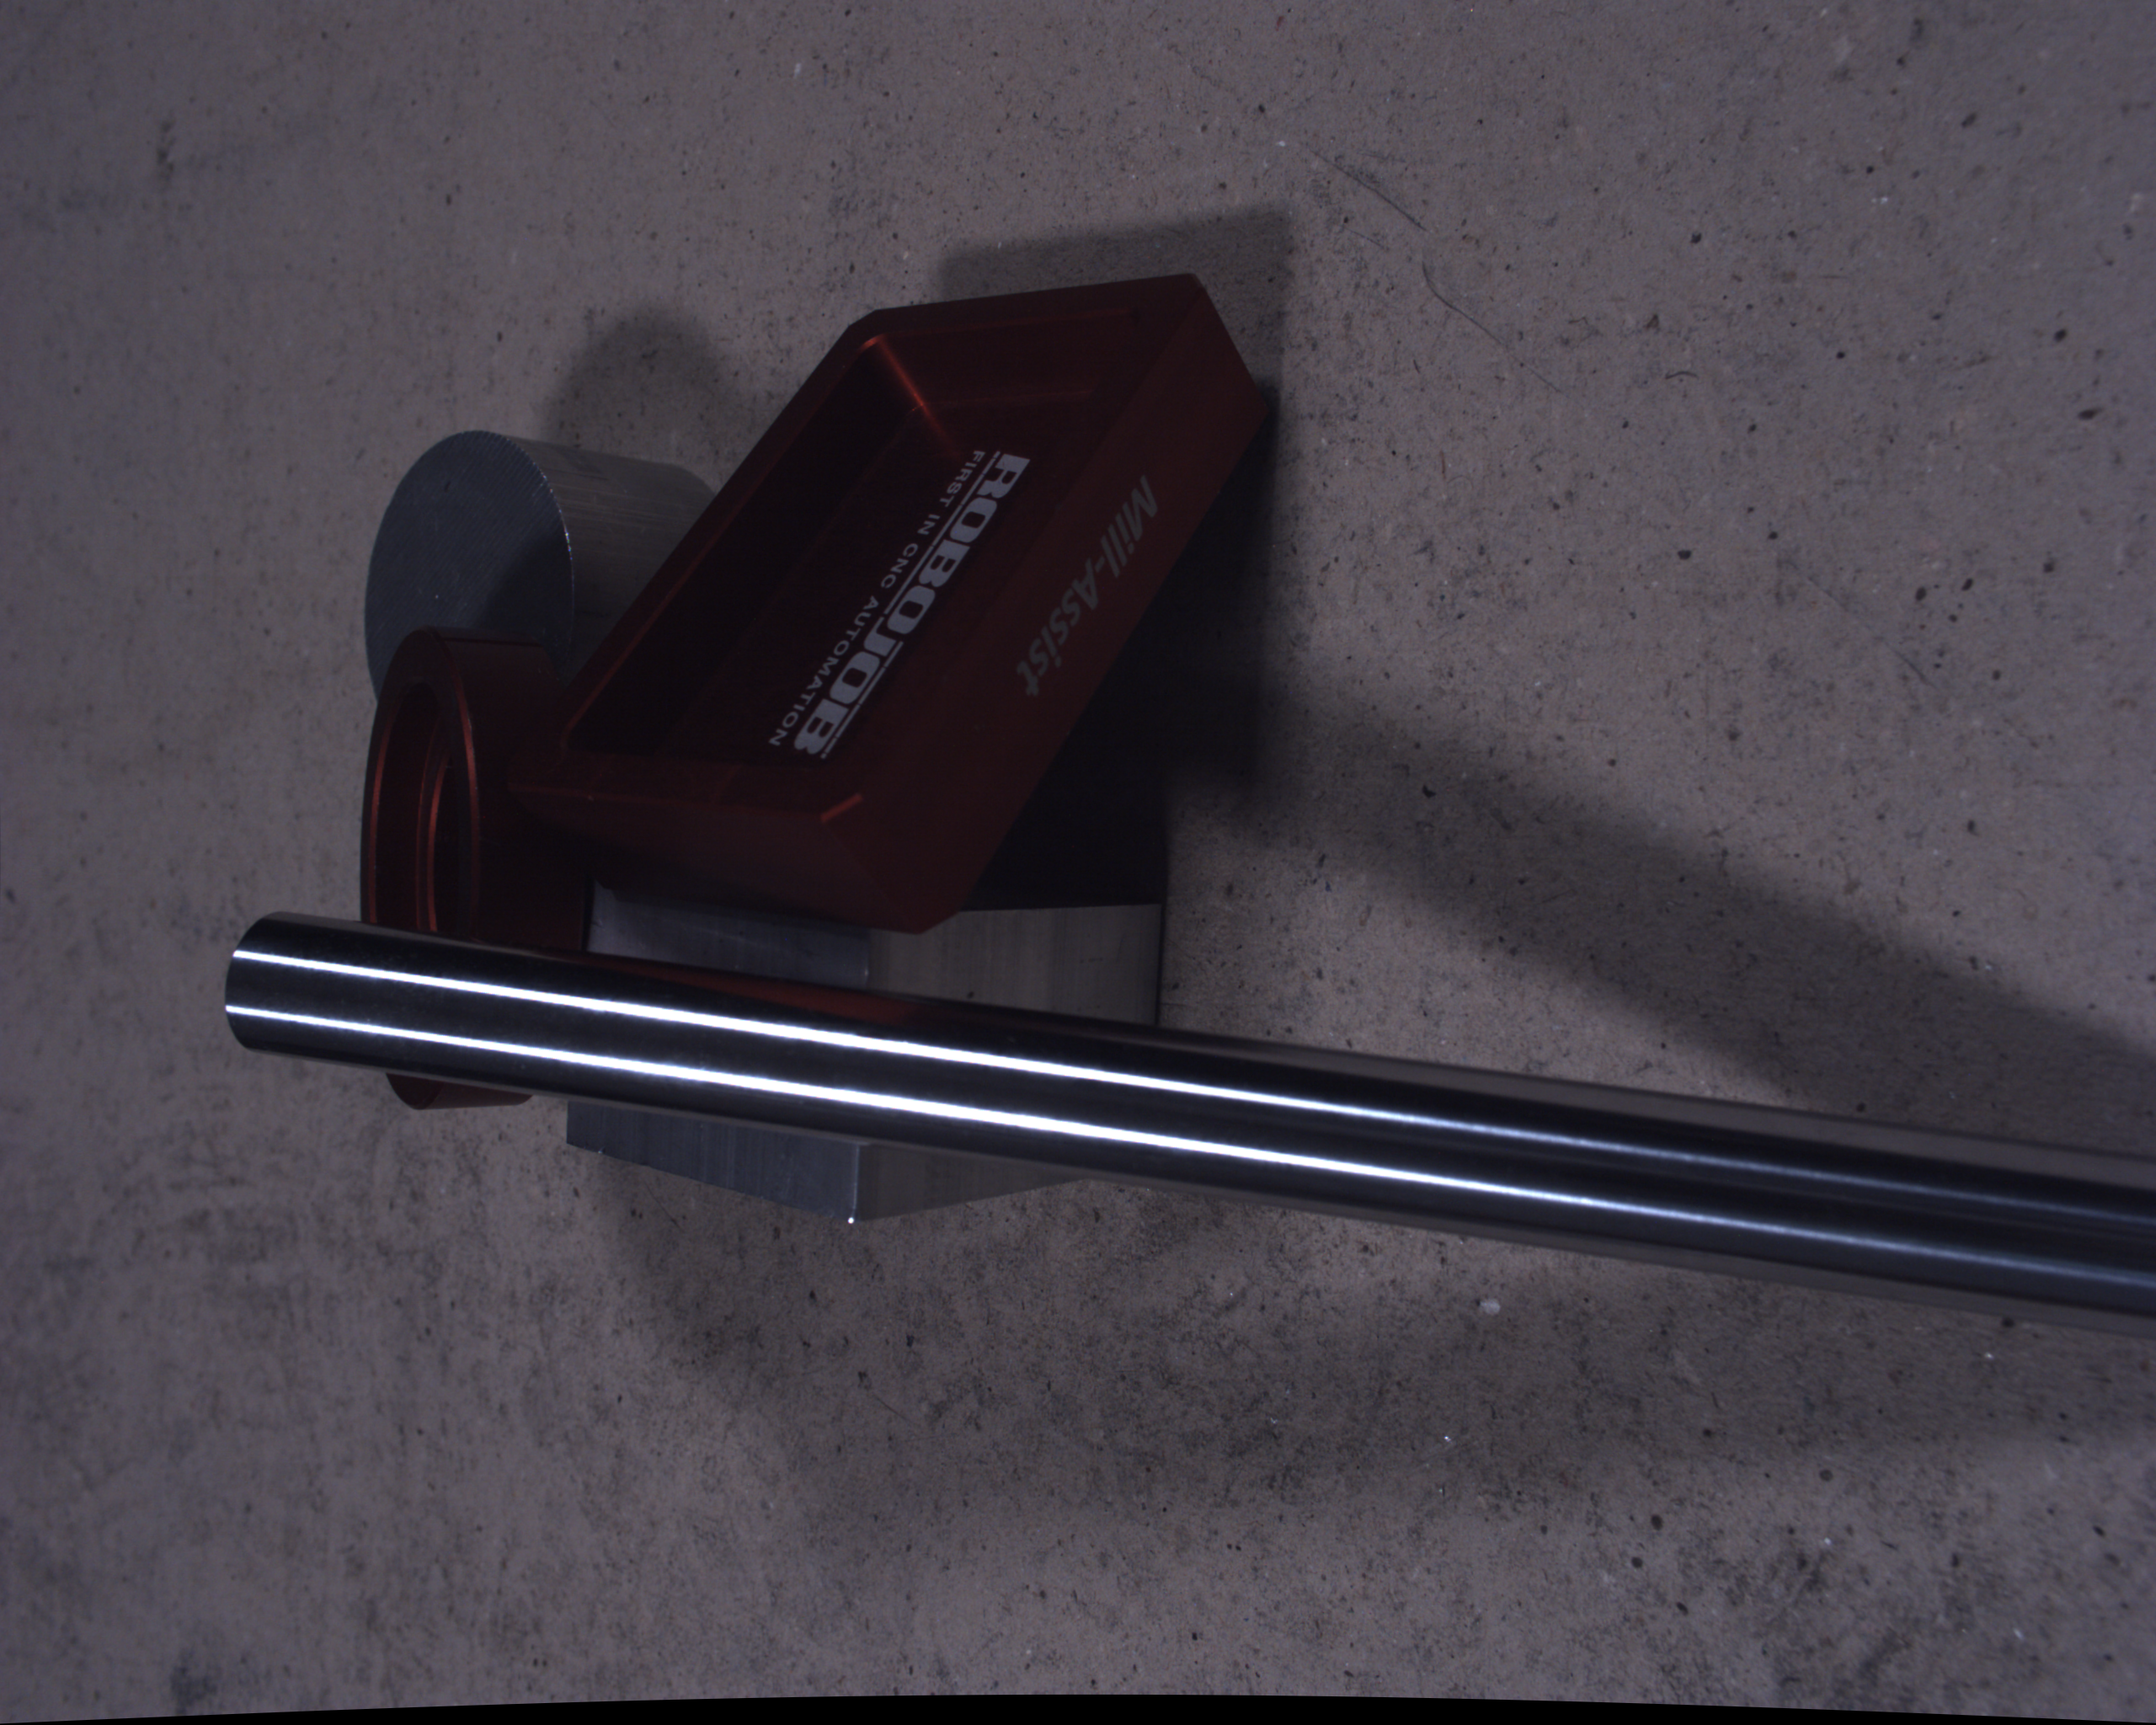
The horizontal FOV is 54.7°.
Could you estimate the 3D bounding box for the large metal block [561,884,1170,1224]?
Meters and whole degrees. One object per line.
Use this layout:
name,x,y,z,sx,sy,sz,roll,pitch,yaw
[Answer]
large metal block,-0.040,0.032,0.401,0.080,0.081,0.050,6,94,39

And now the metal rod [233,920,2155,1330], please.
metal rod,0.006,0.037,0.323,0.301,0.025,0.025,6,94,15

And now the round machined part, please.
round machined part,-0.117,0.001,0.431,0.098,0.042,0.097,-3,86,60

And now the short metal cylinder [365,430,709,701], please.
short metal cylinder,-0.122,-0.057,0.488,0.080,0.050,0.079,0,90,39

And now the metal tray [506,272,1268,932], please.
metal tray,-0.033,-0.051,0.379,0.090,0.030,0.130,6,54,39
